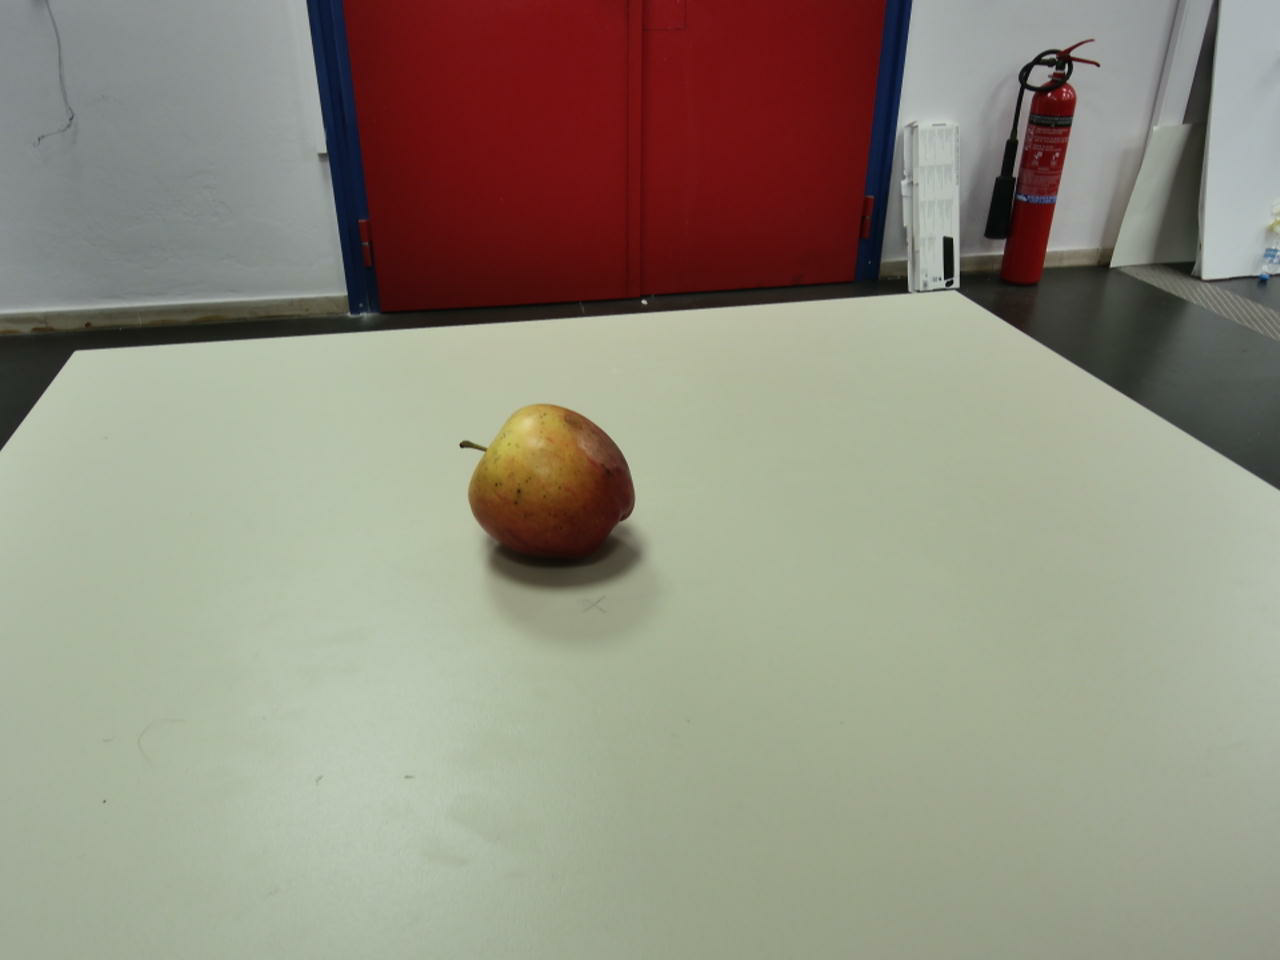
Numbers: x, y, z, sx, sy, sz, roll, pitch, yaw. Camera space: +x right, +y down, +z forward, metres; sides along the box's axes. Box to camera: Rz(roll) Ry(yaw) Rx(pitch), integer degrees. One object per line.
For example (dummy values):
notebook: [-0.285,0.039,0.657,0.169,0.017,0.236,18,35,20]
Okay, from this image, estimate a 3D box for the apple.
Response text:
apple: [-0.052,0.001,0.557,0.093,0.084,0.086,22,34,36]
